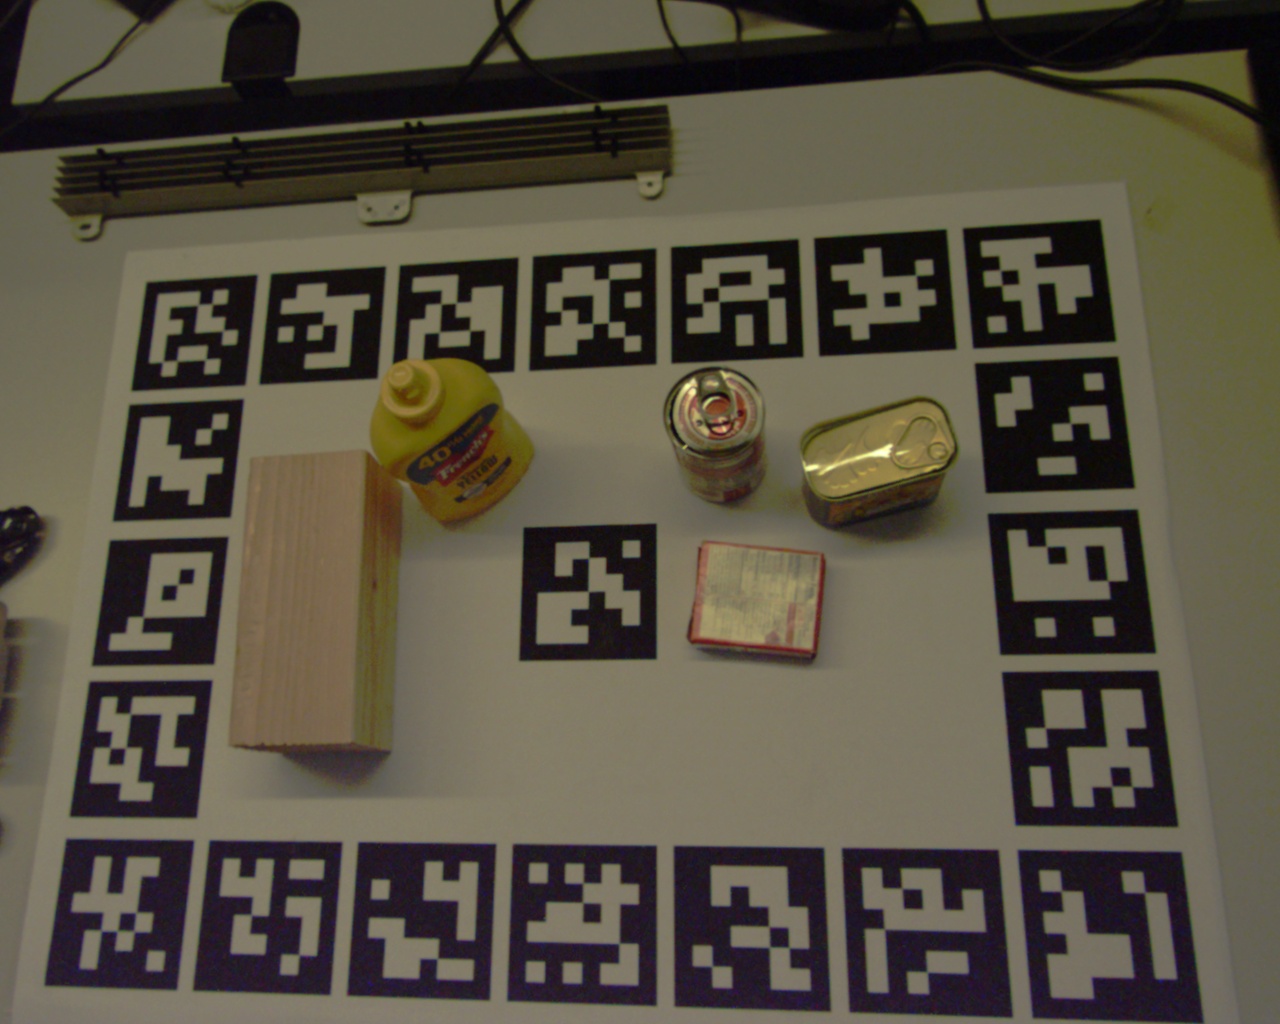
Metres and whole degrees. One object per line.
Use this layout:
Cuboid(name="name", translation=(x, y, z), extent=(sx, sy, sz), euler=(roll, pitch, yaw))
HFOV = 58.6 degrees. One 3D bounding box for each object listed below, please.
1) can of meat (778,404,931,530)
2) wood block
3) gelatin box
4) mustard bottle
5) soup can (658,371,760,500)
Cuboid(name="can of meat", translation=(0.151, -0.029, 0.828), extent=(0.102, 0.083, 0.058), euler=(-15, 73, 1))
Cuboid(name="wood block", translation=(-0.236, 0.069, 0.854), extent=(0.091, 0.089, 0.207), euler=(-1, 70, 6))
Cuboid(name="gelatin box", translation=(0.078, 0.070, 0.833), extent=(0.090, 0.030, 0.073), euler=(8, 77, 13))
Cuboid(name="mustard bottle", translation=(-0.144, -0.048, 0.826), extent=(0.096, 0.190, 0.059), euler=(-26, 72, -2))
Cuboid(name="soup can", translation=(0.052, -0.053, 0.830), extent=(0.068, 0.101, 0.068), euler=(-2, 75, 8))
